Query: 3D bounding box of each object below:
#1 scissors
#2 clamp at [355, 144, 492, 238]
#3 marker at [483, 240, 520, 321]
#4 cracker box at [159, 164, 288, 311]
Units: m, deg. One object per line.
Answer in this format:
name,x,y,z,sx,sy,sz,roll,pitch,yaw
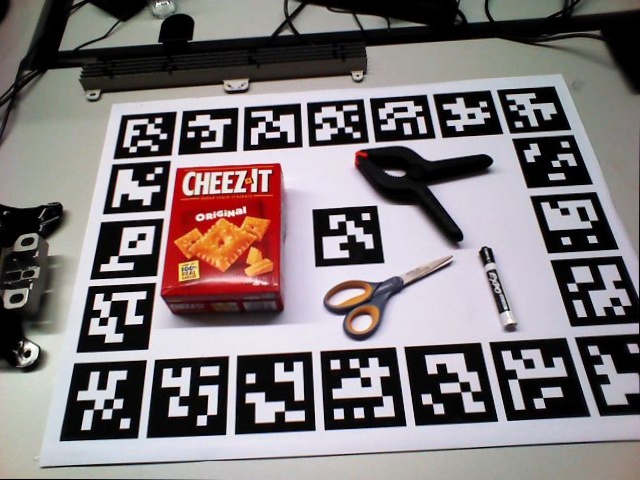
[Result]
scissors,0.106,0.058,0.721,0.202,0.016,0.087,-28,60,-15
clamp,0.148,-0.103,0.820,0.203,0.037,0.164,23,62,16
marker,0.248,0.053,0.713,0.020,0.020,0.120,-7,58,0
cracker box,-0.131,-0.009,0.749,0.164,0.072,0.212,-3,59,2
